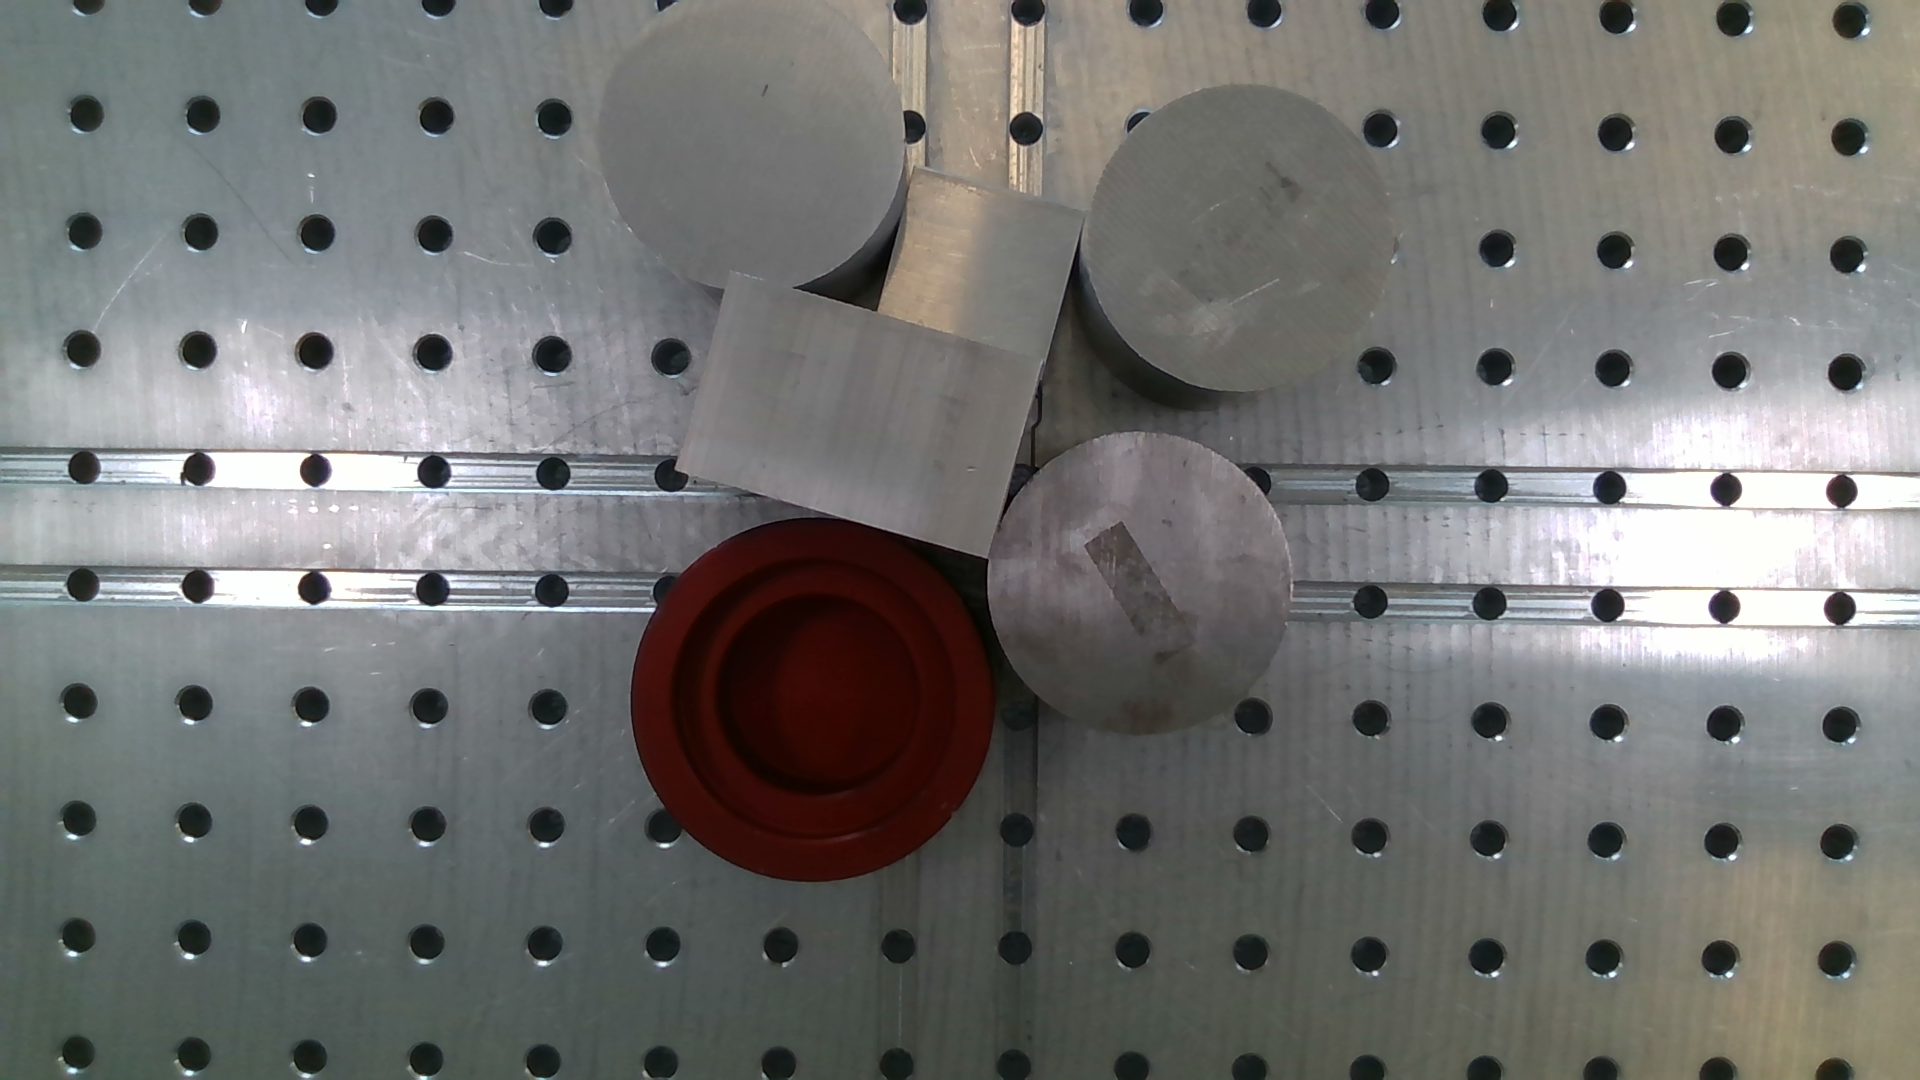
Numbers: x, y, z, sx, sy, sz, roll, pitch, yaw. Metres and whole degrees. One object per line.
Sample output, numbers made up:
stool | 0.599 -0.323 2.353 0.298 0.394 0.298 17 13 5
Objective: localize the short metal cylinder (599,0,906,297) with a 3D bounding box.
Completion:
short metal cylinder | -0.054 -0.105 0.385 0.080 0.050 0.080 0 90 0

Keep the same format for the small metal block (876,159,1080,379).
small metal block | 0.005 -0.076 0.397 0.050 0.025 0.050 15 90 0

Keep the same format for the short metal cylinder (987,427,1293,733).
short metal cylinder | 0.047 0.011 0.385 0.080 0.050 0.080 0 90 0

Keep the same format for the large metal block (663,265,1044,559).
large metal block | -0.025 -0.030 0.367 0.080 0.080 0.050 16 90 0

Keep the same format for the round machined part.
round machined part | -0.040 0.042 0.389 0.098 0.042 0.098 0 90 0

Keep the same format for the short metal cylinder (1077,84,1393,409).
short metal cylinder | 0.073 -0.079 0.385 0.080 0.050 0.080 0 90 0
